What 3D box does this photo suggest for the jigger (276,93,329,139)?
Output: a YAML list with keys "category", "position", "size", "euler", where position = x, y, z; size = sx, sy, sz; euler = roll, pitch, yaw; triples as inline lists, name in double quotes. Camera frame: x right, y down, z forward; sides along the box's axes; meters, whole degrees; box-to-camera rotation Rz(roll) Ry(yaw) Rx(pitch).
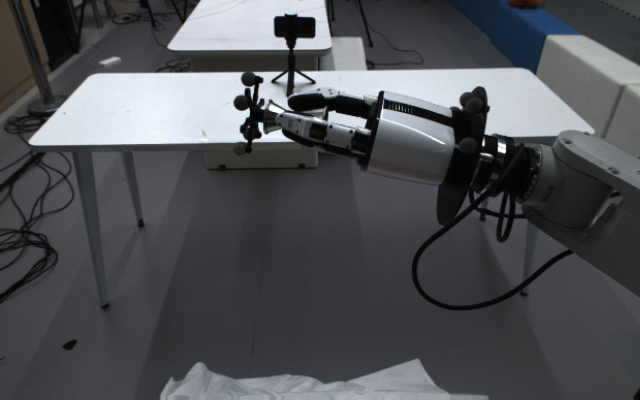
- category: "jigger"
  position: [-0.020, -0.093, 0.559]
  size: [0.071, 0.043, 0.043]
  euler: [8, 35, 4]
